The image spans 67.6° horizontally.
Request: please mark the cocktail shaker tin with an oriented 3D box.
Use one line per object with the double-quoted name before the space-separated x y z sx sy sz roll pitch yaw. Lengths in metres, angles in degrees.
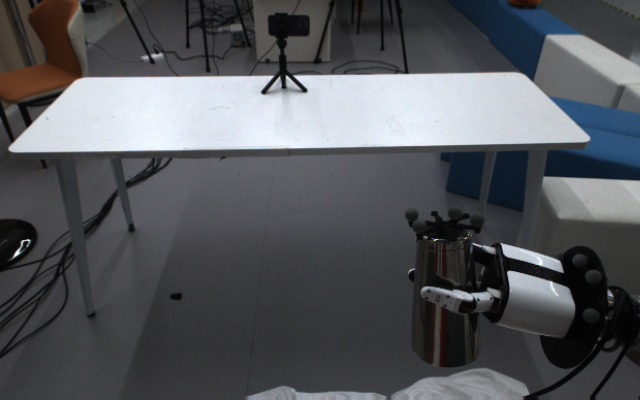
"cocktail shaker tin" 0.163 0.118 0.631 0.093 0.170 0.093 -6 19 2
